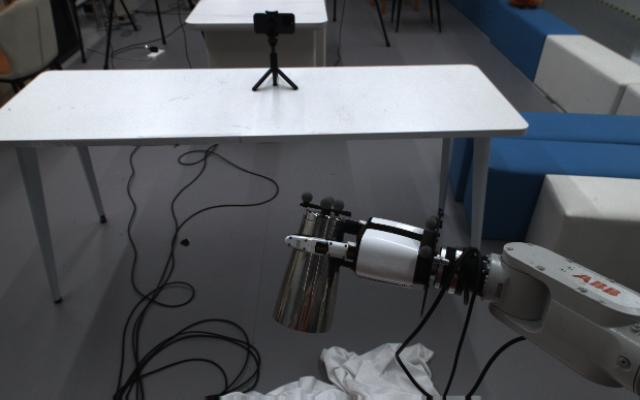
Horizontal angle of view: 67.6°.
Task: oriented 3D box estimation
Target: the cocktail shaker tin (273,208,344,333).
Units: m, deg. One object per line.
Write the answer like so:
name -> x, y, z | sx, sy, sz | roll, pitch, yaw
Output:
cocktail shaker tin -> -0.008, 0.102, 0.743 | 0.093, 0.170, 0.093 | 13, 3, -1
